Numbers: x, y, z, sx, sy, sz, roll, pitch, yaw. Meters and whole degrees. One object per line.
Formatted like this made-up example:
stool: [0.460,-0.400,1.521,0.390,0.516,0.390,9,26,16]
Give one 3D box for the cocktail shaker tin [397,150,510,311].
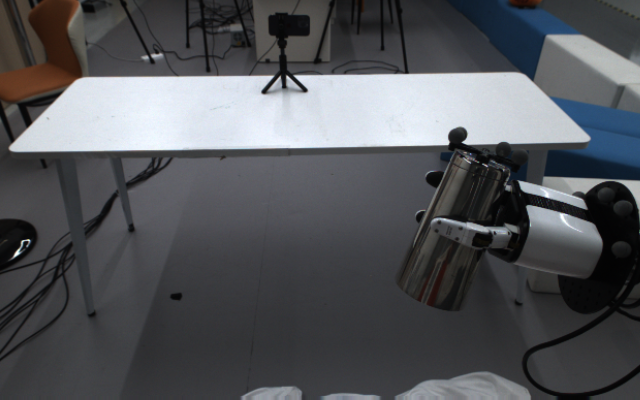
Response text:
cocktail shaker tin: [0.161,0.033,0.573,0.093,0.170,0.093,15,17,-5]
